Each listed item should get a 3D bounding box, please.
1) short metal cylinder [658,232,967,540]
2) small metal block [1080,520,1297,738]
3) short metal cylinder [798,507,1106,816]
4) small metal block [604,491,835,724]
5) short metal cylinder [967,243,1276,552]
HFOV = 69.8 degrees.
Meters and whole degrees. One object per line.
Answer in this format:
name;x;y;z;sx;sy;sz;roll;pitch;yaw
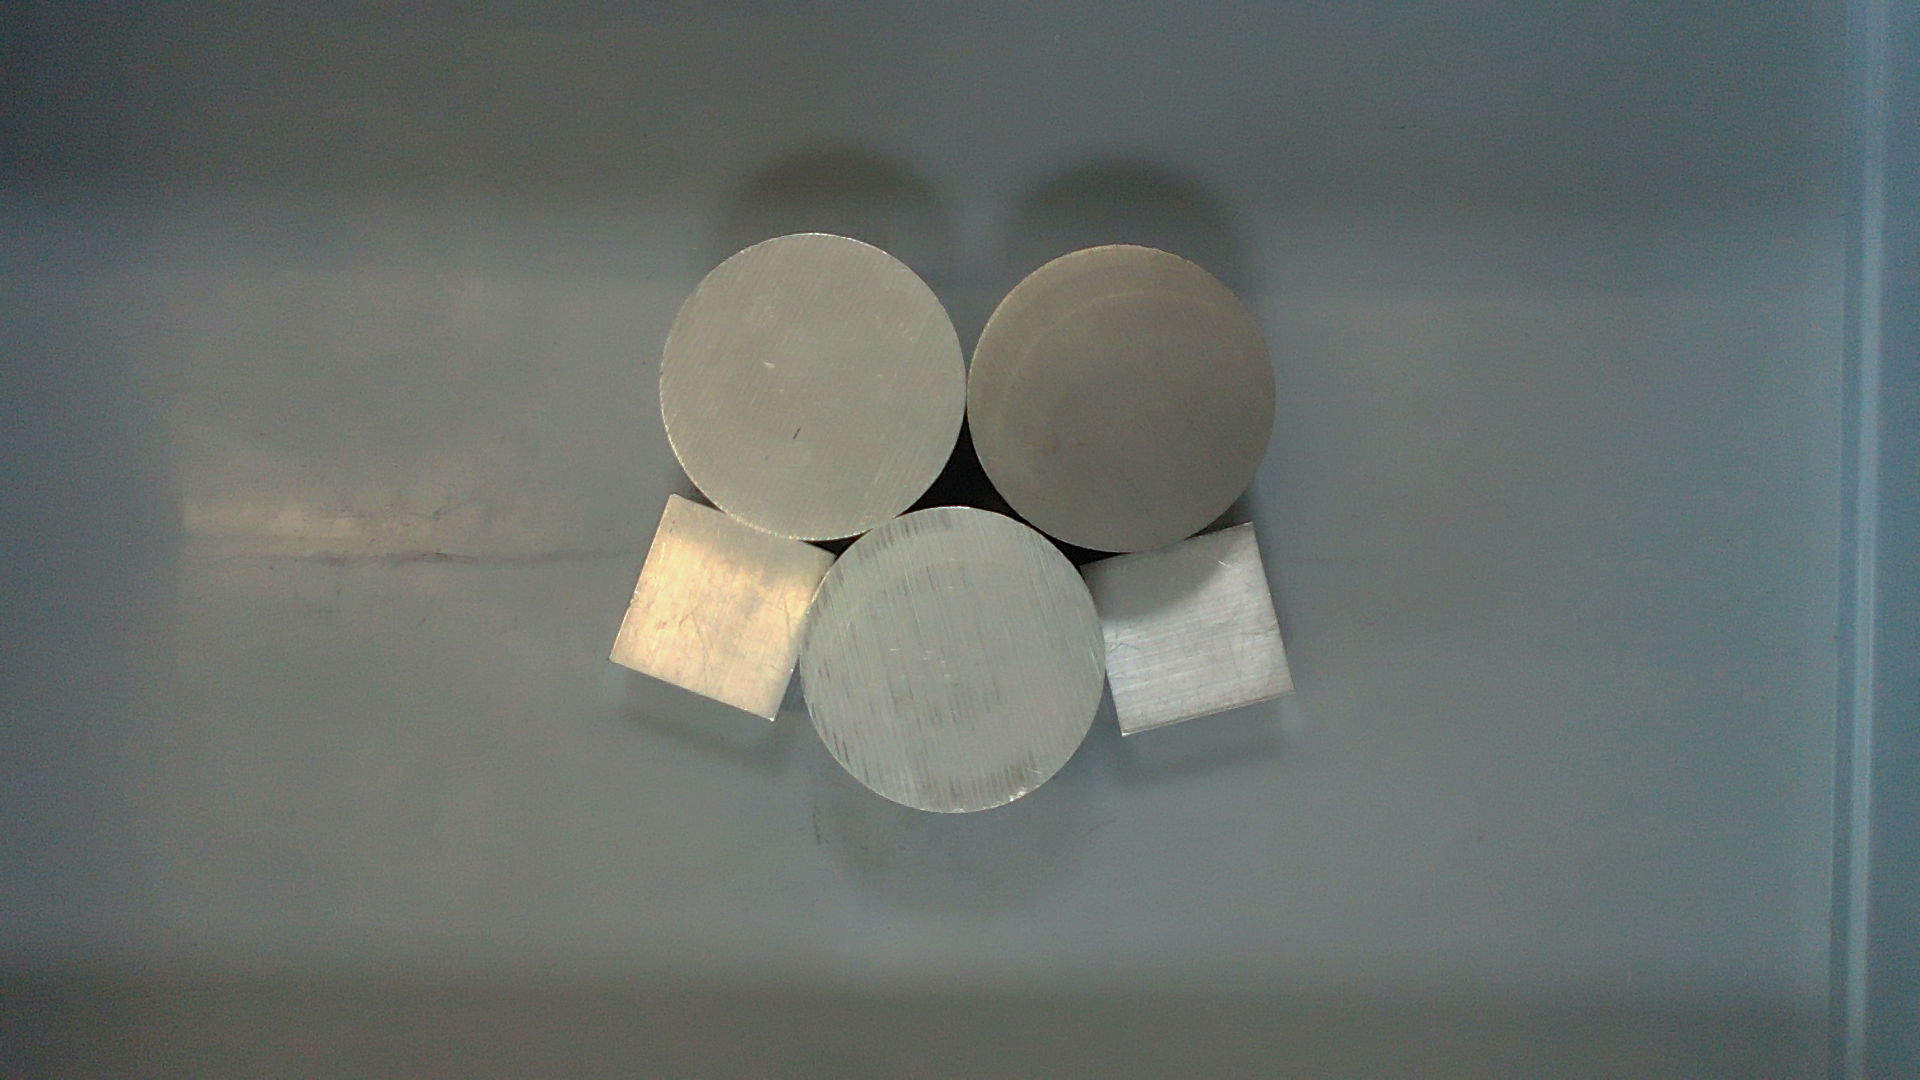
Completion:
short metal cylinder;-0.038;-0.040;0.381;0.080;0.050;0.080;0;90;0
small metal block;0.063;0.025;0.395;0.050;0.025;0.050;-14;90;0
short metal cylinder;-0.002;0.031;0.382;0.080;0.050;0.080;0;90;0
small metal block;-0.066;0.019;0.394;0.050;0.025;0.050;21;90;0
short metal cylinder;0.042;-0.037;0.382;0.080;0.050;0.080;0;90;0
